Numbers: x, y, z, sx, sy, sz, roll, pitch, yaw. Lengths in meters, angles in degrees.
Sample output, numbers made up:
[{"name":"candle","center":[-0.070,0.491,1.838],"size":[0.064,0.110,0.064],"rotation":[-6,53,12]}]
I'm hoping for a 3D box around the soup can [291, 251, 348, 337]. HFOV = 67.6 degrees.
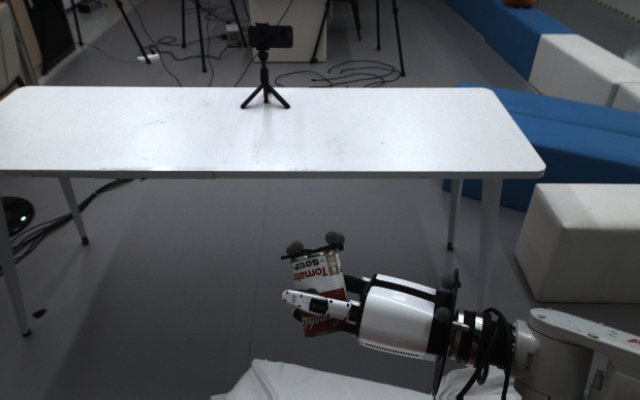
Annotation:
[{"name":"soup can","center":[0.004,0.124,0.641],"size":[0.067,0.067,0.101],"rotation":[-10,80,-16]}]
